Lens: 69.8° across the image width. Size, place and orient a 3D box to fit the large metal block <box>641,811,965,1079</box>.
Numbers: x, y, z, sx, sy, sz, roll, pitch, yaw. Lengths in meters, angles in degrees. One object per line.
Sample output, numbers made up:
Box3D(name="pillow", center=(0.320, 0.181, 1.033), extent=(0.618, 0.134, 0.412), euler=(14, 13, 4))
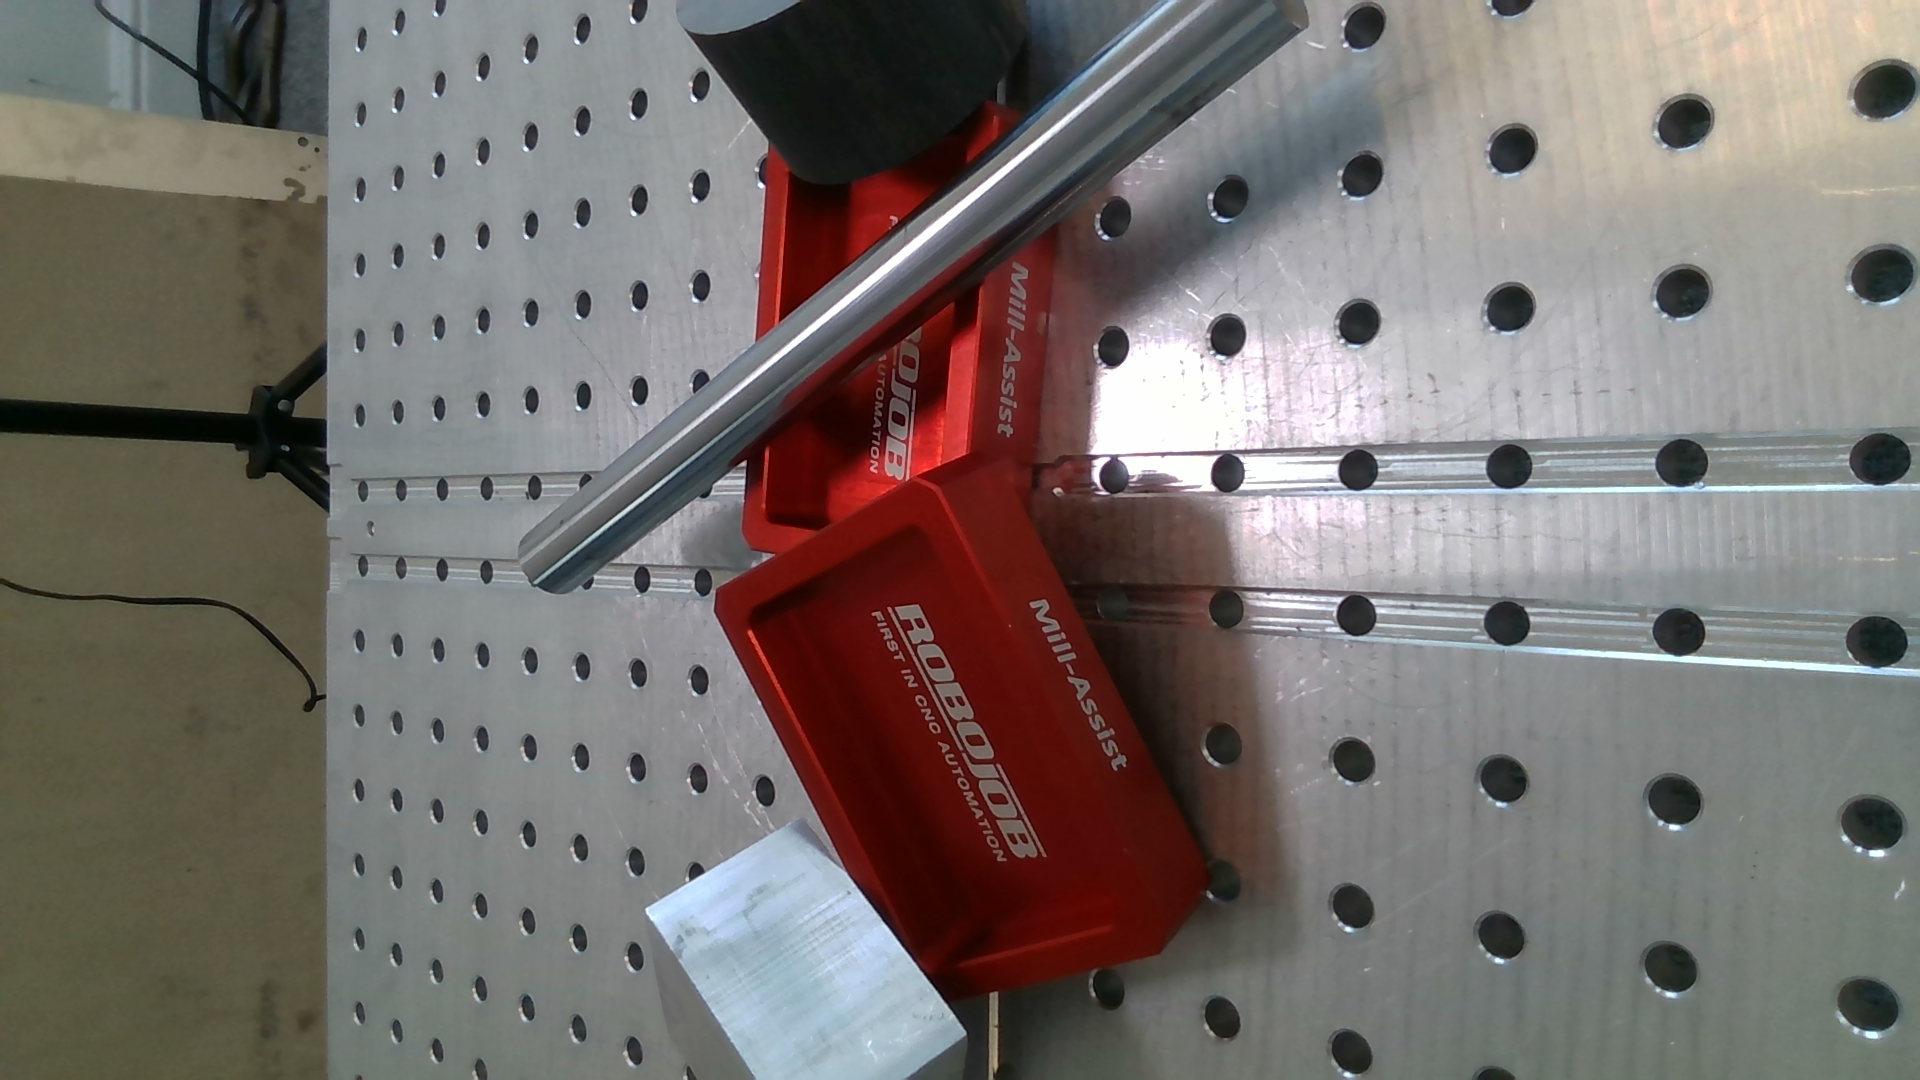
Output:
Box3D(name="large metal block", center=(-0.045, 0.140, 0.394), extent=(0.080, 0.050, 0.080), euler=(46, 149, 31))

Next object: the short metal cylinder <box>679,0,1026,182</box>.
Box3D(name="short metal cylinder", center=(-0.029, -0.146, 0.377), extent=(0.080, 0.050, 0.080), euler=(-20, 46, 22))

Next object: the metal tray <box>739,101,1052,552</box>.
Box3D(name="metal tray", center=(-0.020, -0.057, 0.407), extent=(0.090, 0.030, 0.130), euler=(9, 96, 40))

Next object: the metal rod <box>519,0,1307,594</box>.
Box3D(name="metal rod", center=(-0.036, -0.057, 0.385), extent=(0.300, 0.025, 0.025), euler=(-32, 70, 36))

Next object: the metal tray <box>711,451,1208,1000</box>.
Box3D(name="metal tray", center=(-0.003, 0.053, 0.369), extent=(0.090, 0.030, 0.130), euler=(-27, 90, 37))
